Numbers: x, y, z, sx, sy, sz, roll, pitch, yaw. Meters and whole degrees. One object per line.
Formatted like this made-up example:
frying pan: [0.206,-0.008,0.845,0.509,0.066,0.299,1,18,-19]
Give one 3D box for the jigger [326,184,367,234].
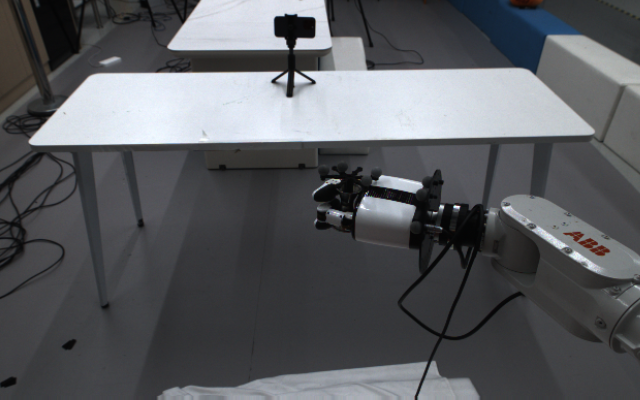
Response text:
jigger: [0.046,0.010,0.763,0.043,0.071,0.043,3,25,-1]
